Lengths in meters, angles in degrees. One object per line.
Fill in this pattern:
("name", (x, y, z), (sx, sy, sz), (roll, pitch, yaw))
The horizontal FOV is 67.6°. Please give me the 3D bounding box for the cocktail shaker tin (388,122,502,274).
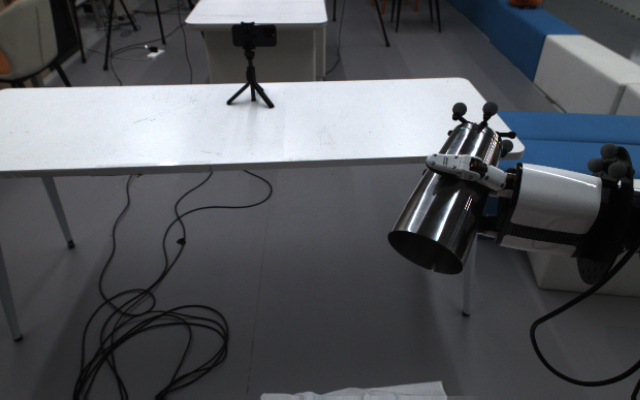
("cocktail shaker tin", (0.161, -0.011, 0.578), (0.093, 0.093, 0.170), (20, 67, 23))
